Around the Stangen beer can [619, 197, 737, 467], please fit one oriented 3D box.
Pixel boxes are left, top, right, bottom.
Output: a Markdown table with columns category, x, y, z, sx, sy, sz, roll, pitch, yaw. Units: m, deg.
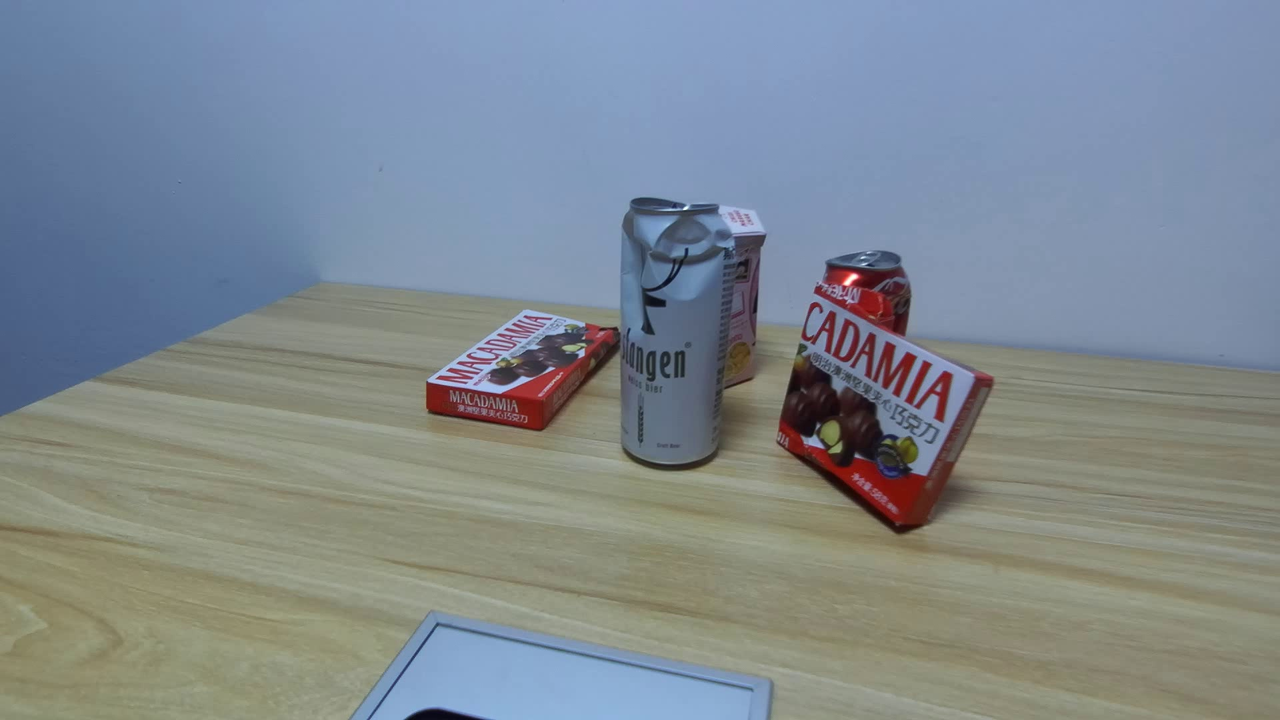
| category | x | y | z | sx | sy | sz | roll | pitch | yaw |
| --- | --- | --- | --- | --- | --- | --- | --- | --- | --- |
| Stangen beer can | 0.021 | -0.016 | 0.450 | 0.066 | 0.166 | 0.065 | -6 | 22 | -16 |

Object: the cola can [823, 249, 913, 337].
| category | x | y | z | sx | sy | sz | roll | pitch | yaw |
| --- | --- | --- | --- | --- | --- | --- | --- | --- | --- |
| cola can | 0.169 | -0.025 | 0.542 | 0.069 | 0.112 | 0.065 | -1 | 24 | -4 |

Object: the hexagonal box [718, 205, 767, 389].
| category | x | y | z | sx | sy | sz | roll | pitch | yaw |
| --- | --- | --- | --- | --- | --- | --- | --- | --- | --- |
| hexagonal box | 0.053 | -0.053 | 0.576 | 0.085 | 0.135 | 0.092 | -1 | 22 | -3 |

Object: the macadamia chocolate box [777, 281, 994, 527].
| category | x | y | z | sx | sy | sz | roll | pitch | yaw |
| --- | --- | --- | --- | --- | --- | --- | --- | --- | --- |
| macadamia chocolate box | 0.142 | 0.023 | 0.429 | 0.056 | 0.112 | 0.126 | -8 | 24 | -22 |

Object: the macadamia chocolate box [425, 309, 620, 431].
| category | x | y | z | sx | sy | sz | roll | pitch | yaw |
| --- | --- | --- | --- | --- | --- | --- | --- | --- | --- |
| macadamia chocolate box | -0.086 | 0.000 | 0.592 | 0.102 | 0.027 | 0.187 | 9 | 25 | 13 |
